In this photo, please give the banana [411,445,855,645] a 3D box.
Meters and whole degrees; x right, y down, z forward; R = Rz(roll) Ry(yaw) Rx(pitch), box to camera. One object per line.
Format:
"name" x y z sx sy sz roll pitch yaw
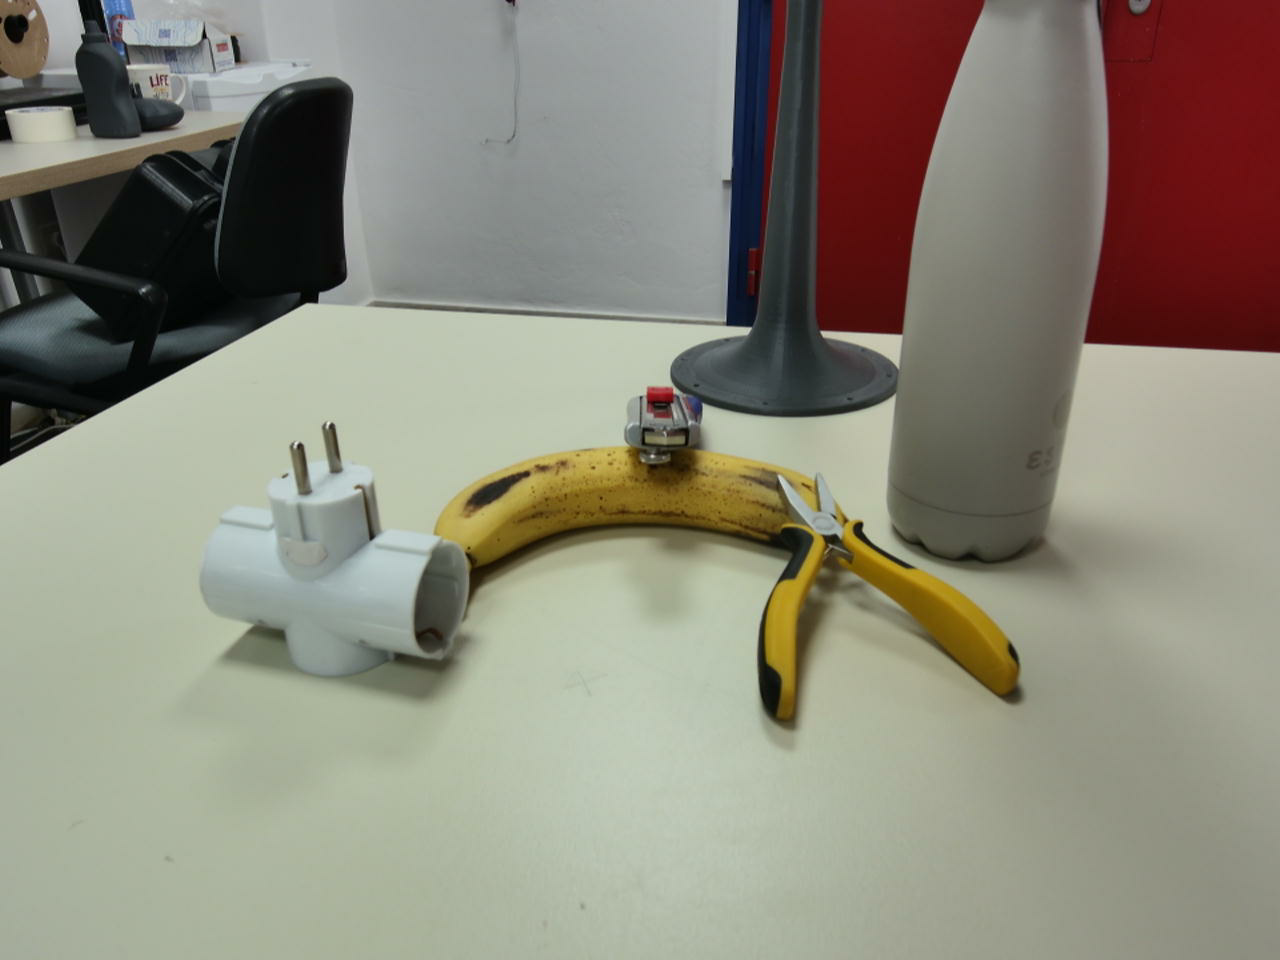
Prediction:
"banana" -0.007 0.015 0.450 0.186 0.038 0.097 -6 25 -14
